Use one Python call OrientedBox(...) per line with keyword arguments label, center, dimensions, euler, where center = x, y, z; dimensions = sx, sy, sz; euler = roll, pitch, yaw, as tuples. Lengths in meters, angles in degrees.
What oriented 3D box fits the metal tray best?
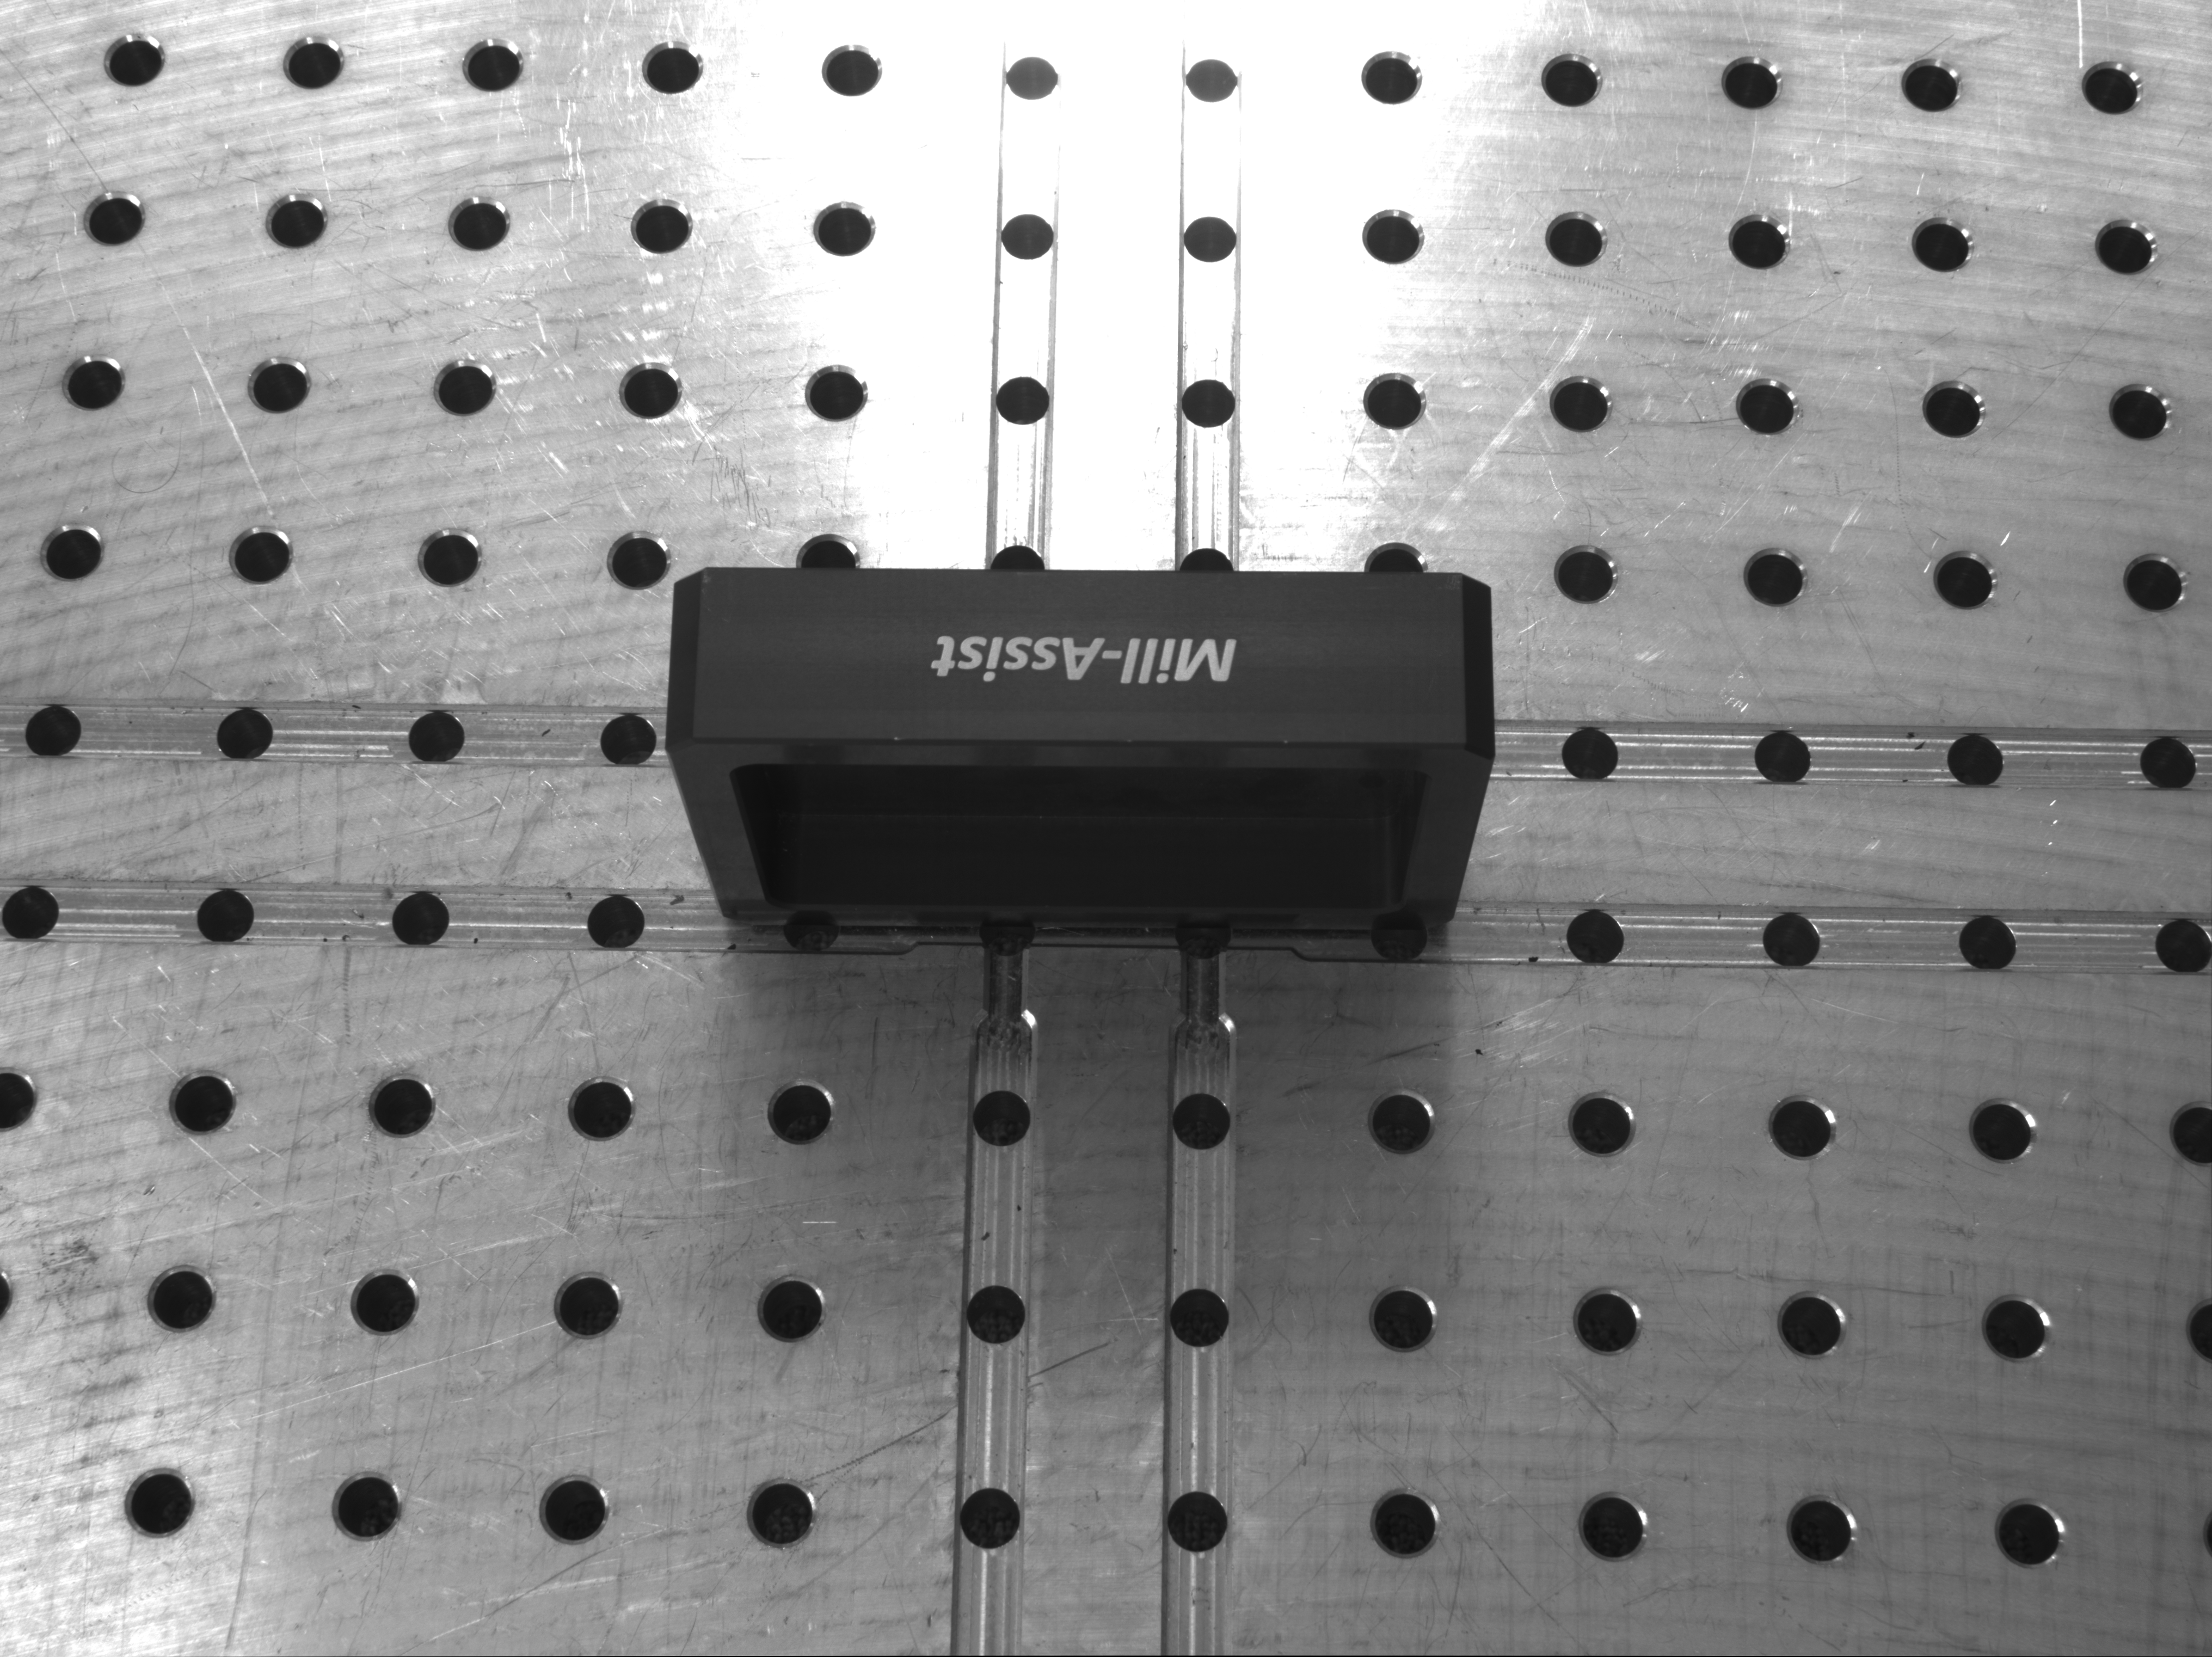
OrientedBox(label="metal tray", center=(-0.004, -0.011, 0.617), dimensions=(0.130, 0.090, 0.030), euler=(0, 70, 0))
